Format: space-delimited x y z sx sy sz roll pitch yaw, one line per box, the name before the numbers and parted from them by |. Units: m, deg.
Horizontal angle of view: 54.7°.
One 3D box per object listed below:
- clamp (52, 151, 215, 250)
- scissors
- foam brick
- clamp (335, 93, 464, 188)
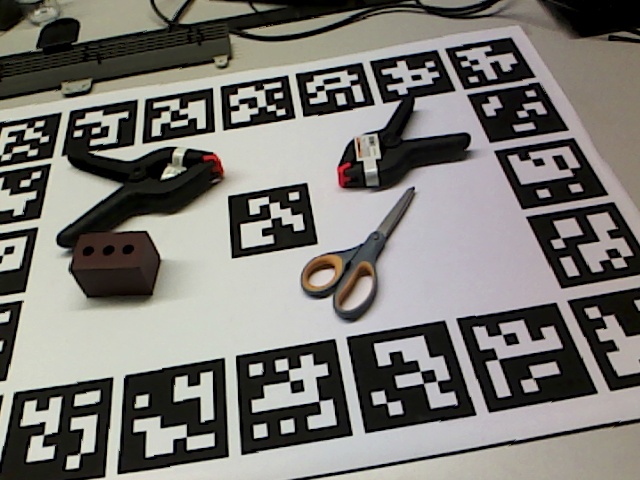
clamp | -0.237 -0.070 0.794 0.202 0.036 0.166 -13 48 -4
scissors | 0.046 0.006 0.704 0.088 0.016 0.202 26 57 17
foam brick | -0.234 0.034 0.704 0.078 0.051 0.053 -7 52 8
clamp | 0.086 -0.118 0.794 0.165 0.036 0.122 -33 62 -17
